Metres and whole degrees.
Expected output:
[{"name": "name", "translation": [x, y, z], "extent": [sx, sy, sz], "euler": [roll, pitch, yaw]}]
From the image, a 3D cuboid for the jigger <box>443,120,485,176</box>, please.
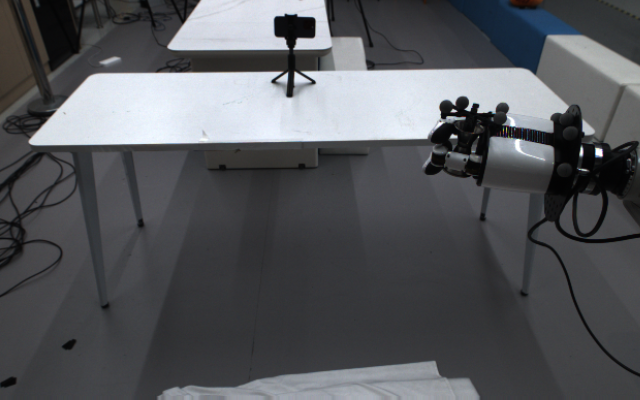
[{"name": "jigger", "translation": [0.204, -0.073, 0.684], "extent": [0.043, 0.071, 0.043], "euler": [4, 31, -2]}]
